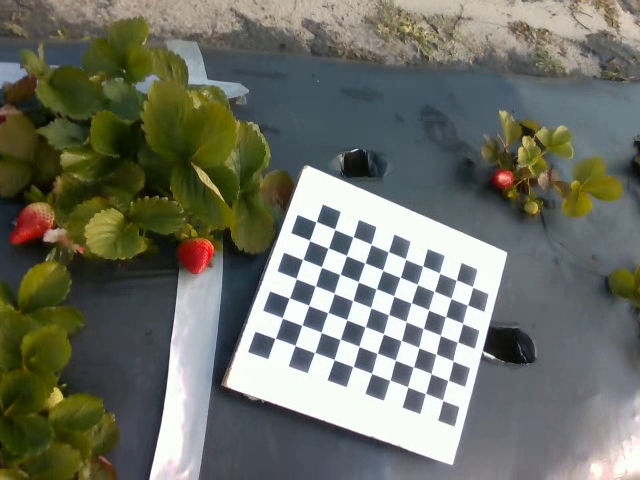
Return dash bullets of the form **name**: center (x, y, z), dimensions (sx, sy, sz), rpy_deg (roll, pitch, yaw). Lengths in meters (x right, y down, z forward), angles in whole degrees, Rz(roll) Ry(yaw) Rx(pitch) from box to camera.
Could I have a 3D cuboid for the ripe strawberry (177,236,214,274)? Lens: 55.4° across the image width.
- **ripe strawberry**: center (-0.125, 0.019, 0.617), dimensions (0.050, 0.055, 0.035), rpy_deg (18, -34, -20)
